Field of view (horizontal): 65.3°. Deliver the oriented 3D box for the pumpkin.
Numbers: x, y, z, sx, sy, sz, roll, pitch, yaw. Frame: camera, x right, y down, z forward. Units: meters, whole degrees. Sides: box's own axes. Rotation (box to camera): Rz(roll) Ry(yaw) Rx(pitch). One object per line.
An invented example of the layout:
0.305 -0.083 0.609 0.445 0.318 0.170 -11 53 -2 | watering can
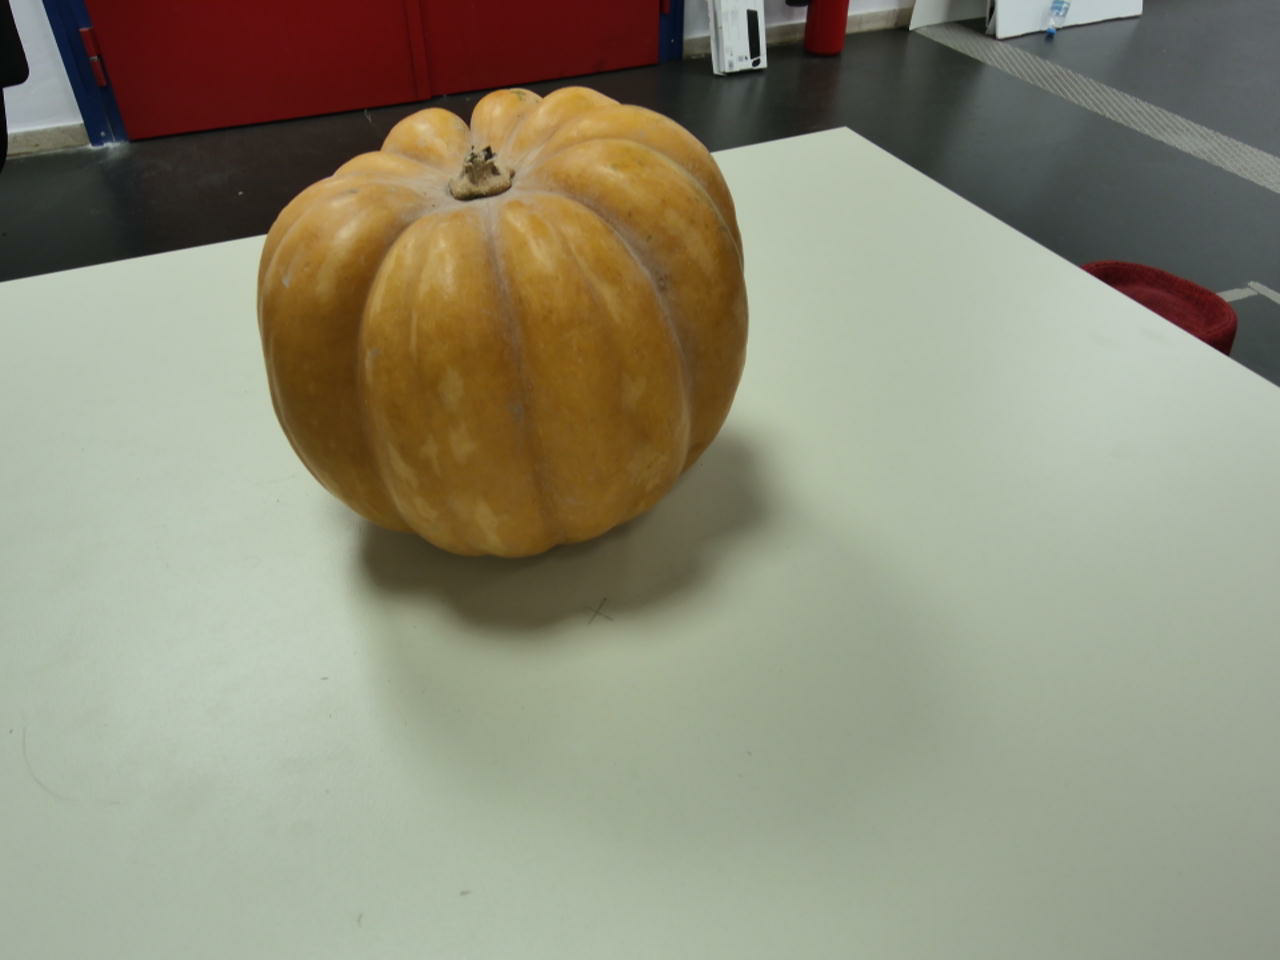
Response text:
-0.058 -0.073 0.472 0.230 0.194 0.230 0 39 0 | pumpkin
